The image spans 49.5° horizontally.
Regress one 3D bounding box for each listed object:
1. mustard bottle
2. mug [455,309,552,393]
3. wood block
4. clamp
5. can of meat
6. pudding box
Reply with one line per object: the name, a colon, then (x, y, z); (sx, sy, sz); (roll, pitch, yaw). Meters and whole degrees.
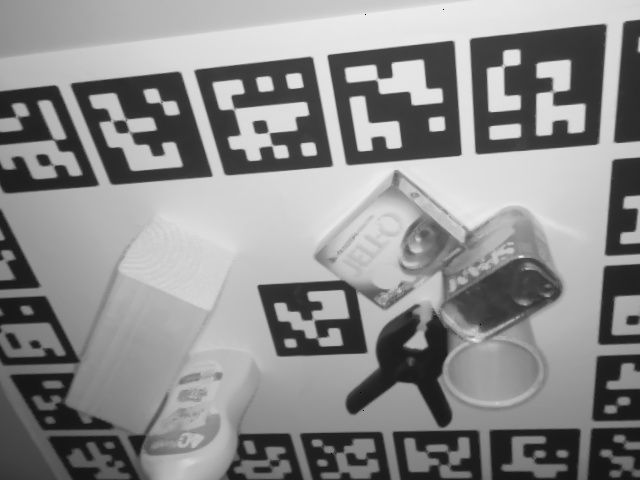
mustard bottle: (-0.116, 0.198, 0.695); (0.095, 0.193, 0.058); (-9, 119, 14)
mug: (0.176, 0.098, 0.686); (0.093, 0.082, 0.116); (14, 121, 0)
wood block: (-0.167, 0.084, 0.699); (0.090, 0.092, 0.203); (26, 124, -10)
clamp: (0.104, 0.135, 0.725); (0.122, 0.037, 0.163); (12, 121, 2)
can of meat: (0.164, 0.021, 0.606); (0.100, 0.084, 0.058); (-34, 110, 25)
pudding box: (0.068, -0.004, 0.637); (0.090, 0.039, 0.112); (38, 121, -14)
